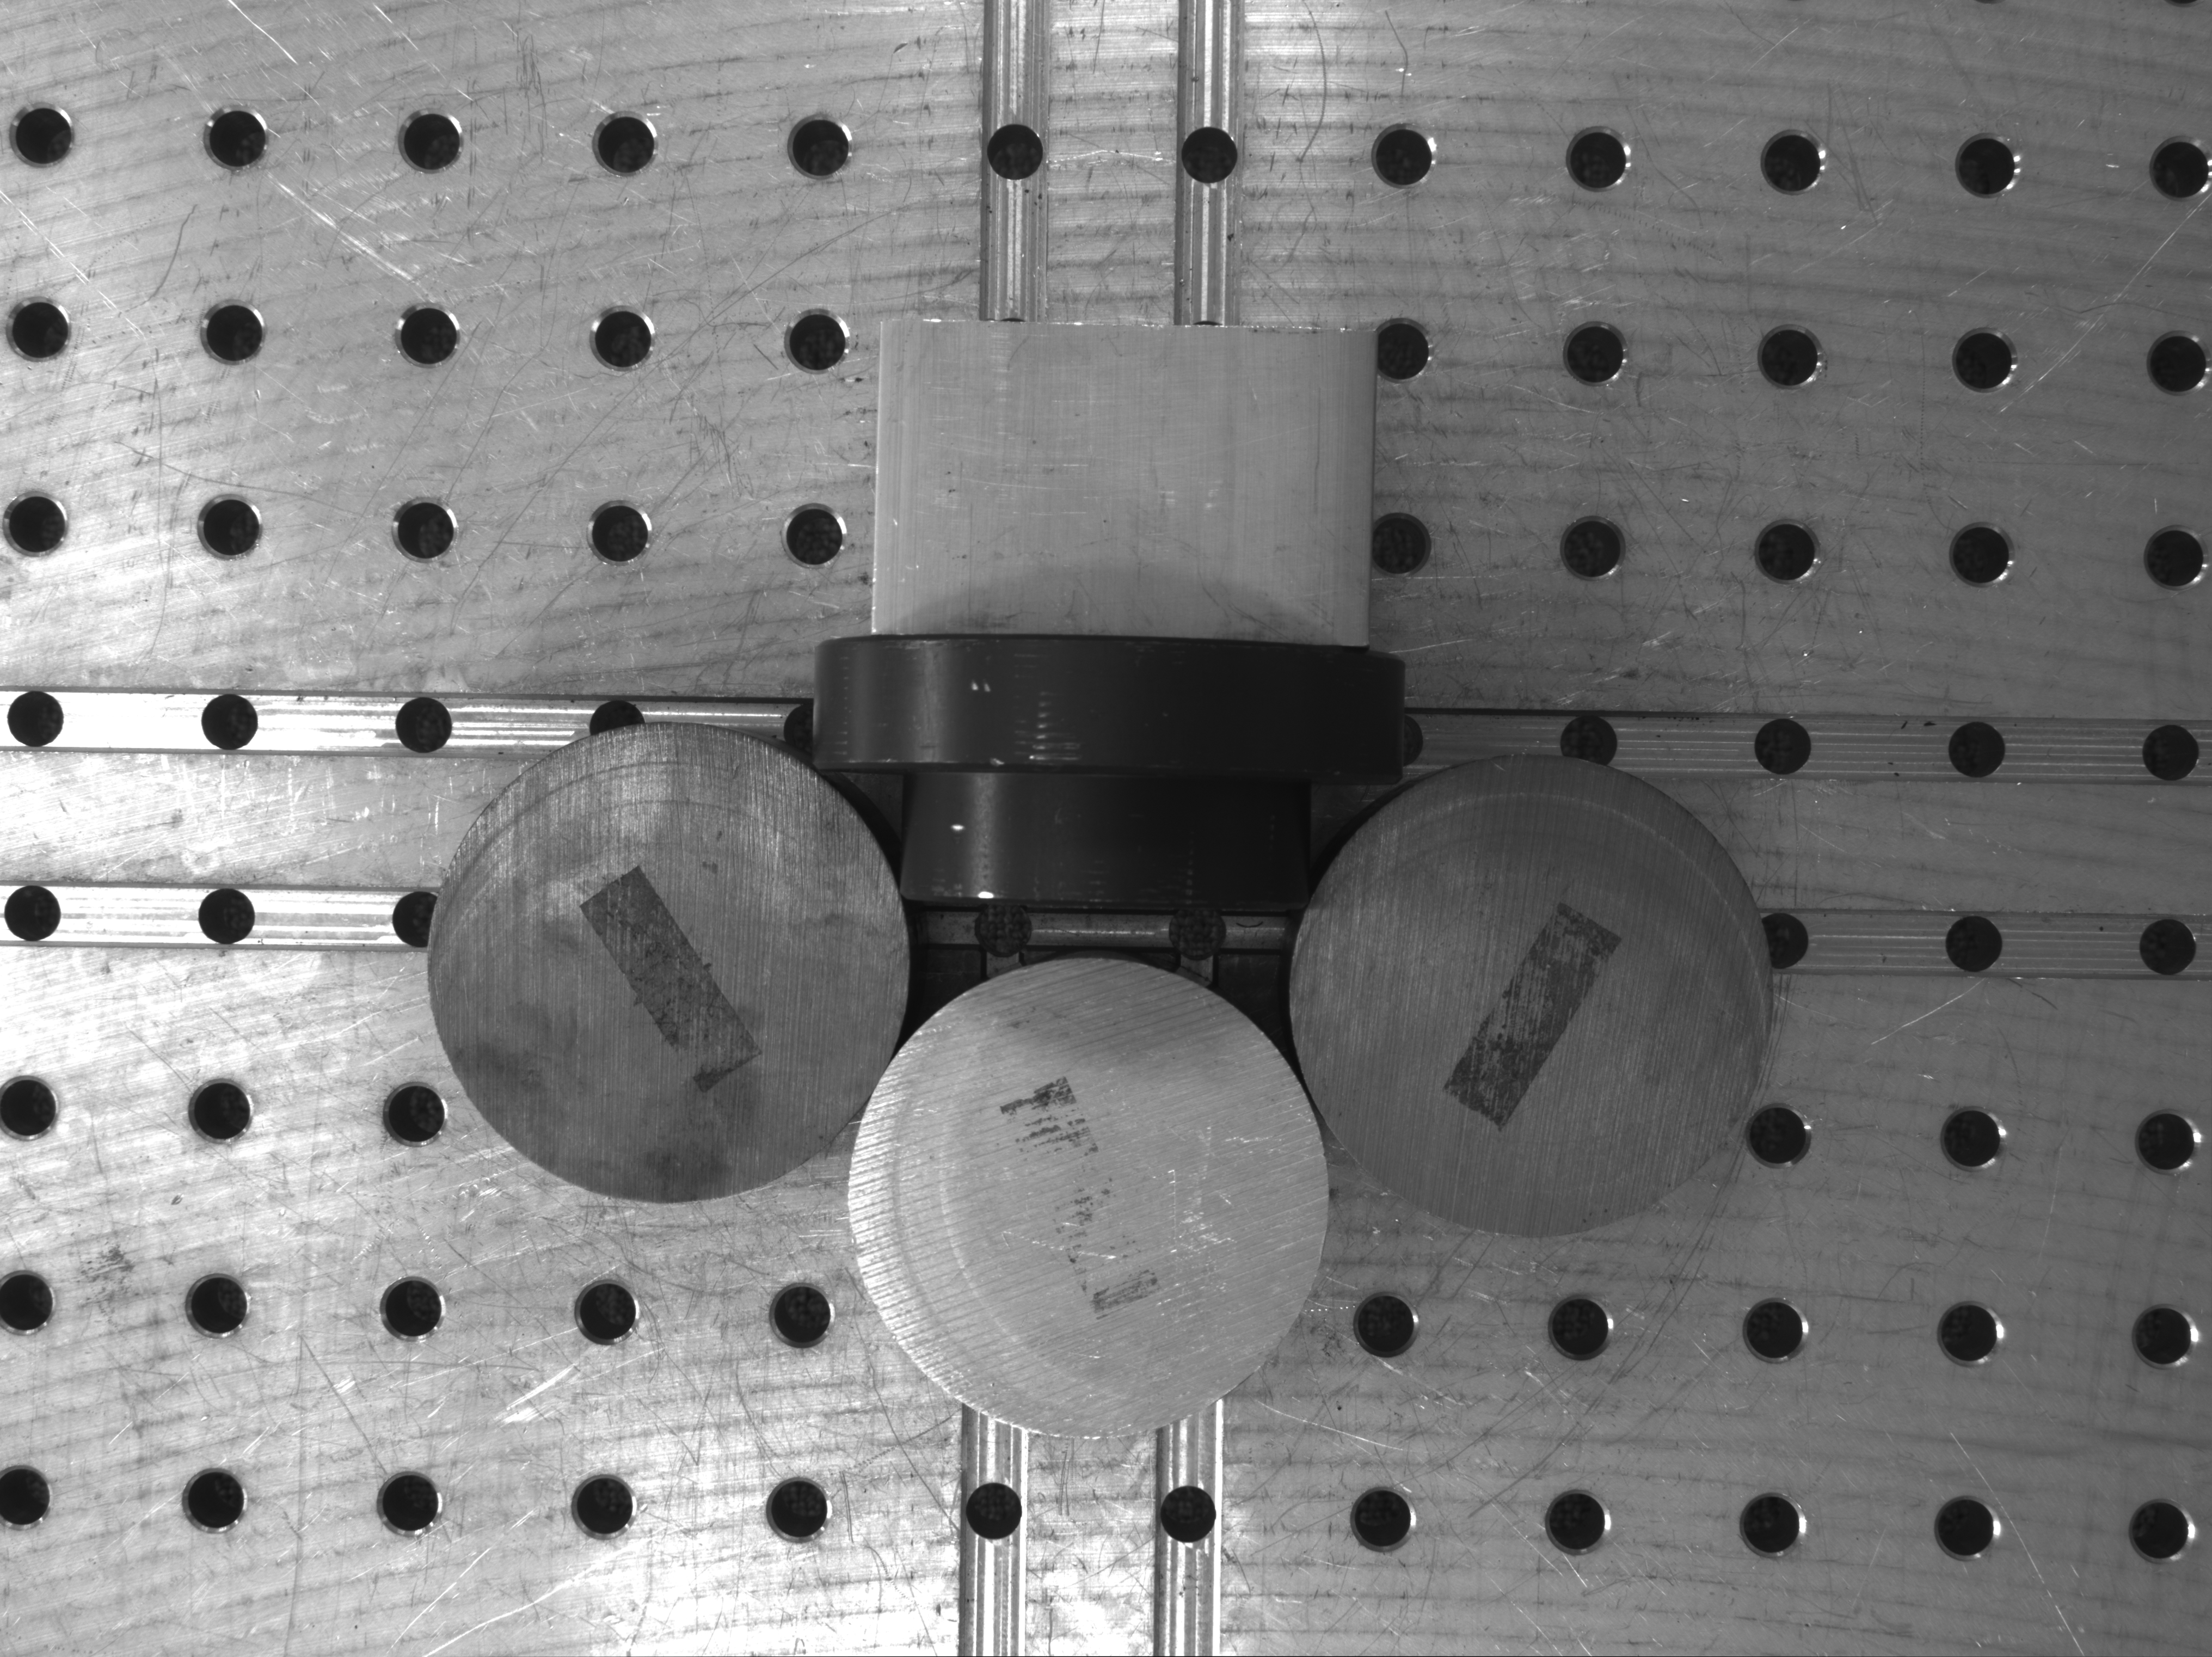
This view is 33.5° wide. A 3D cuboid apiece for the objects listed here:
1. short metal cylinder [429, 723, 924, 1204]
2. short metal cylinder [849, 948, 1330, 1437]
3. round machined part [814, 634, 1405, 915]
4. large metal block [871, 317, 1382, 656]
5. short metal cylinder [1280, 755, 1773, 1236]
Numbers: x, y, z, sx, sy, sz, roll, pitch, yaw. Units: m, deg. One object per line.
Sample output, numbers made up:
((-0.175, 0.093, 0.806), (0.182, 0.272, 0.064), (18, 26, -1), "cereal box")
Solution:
((-0.072, 0.023, 0.636), (0.080, 0.050, 0.080), (0, 90, 0), "short metal cylinder")
((-0.003, 0.061, 0.636), (0.080, 0.050, 0.080), (0, 90, 0), "short metal cylinder")
((0.000, -0.008, 0.610), (0.098, 0.098, 0.042), (2, 89, 0), "round machined part")
((0.003, -0.055, 0.620), (0.080, 0.080, 0.050), (1, 90, 0), "large metal block")
((0.071, 0.028, 0.636), (0.080, 0.050, 0.080), (0, 90, 0), "short metal cylinder")
